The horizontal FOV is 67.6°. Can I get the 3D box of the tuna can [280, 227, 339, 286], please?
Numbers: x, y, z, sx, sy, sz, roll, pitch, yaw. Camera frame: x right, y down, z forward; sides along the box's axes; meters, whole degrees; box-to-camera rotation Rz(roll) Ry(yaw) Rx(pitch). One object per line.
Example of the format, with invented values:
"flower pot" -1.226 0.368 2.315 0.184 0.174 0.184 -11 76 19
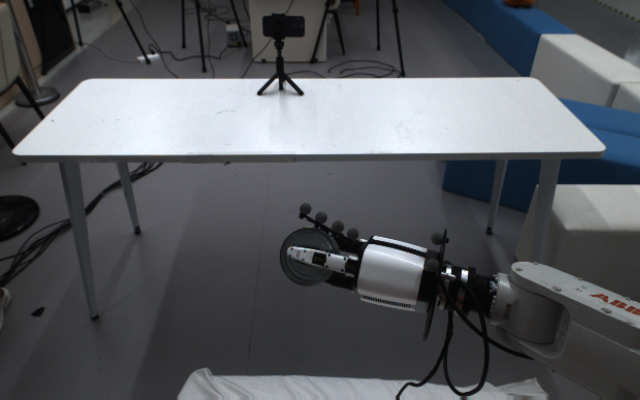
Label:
"tuna can" -0.012 0.083 0.711 0.085 0.085 0.034 9 -4 11
